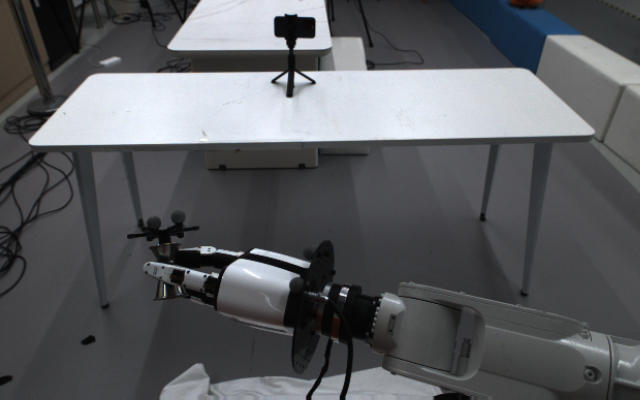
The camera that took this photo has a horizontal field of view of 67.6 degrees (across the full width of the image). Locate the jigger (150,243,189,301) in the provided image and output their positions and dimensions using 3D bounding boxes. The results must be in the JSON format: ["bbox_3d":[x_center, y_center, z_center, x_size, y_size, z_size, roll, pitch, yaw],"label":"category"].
[{"bbox_3d":[-0.192,0.092,0.620,0.043,0.043,0.071,-8,79,-15],"label":"jigger"}]
